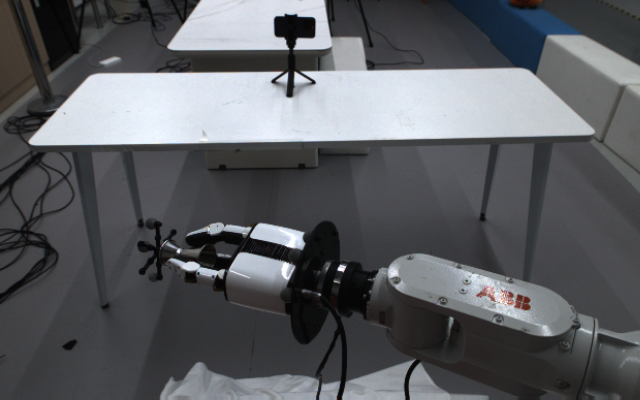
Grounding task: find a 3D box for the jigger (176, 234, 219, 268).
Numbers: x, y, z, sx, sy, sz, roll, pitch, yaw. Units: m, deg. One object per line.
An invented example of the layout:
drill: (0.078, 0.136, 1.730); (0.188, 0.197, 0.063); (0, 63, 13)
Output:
jigger: (-0.182, 0.077, 0.688); (0.071, 0.043, 0.043); (6, 34, 21)
